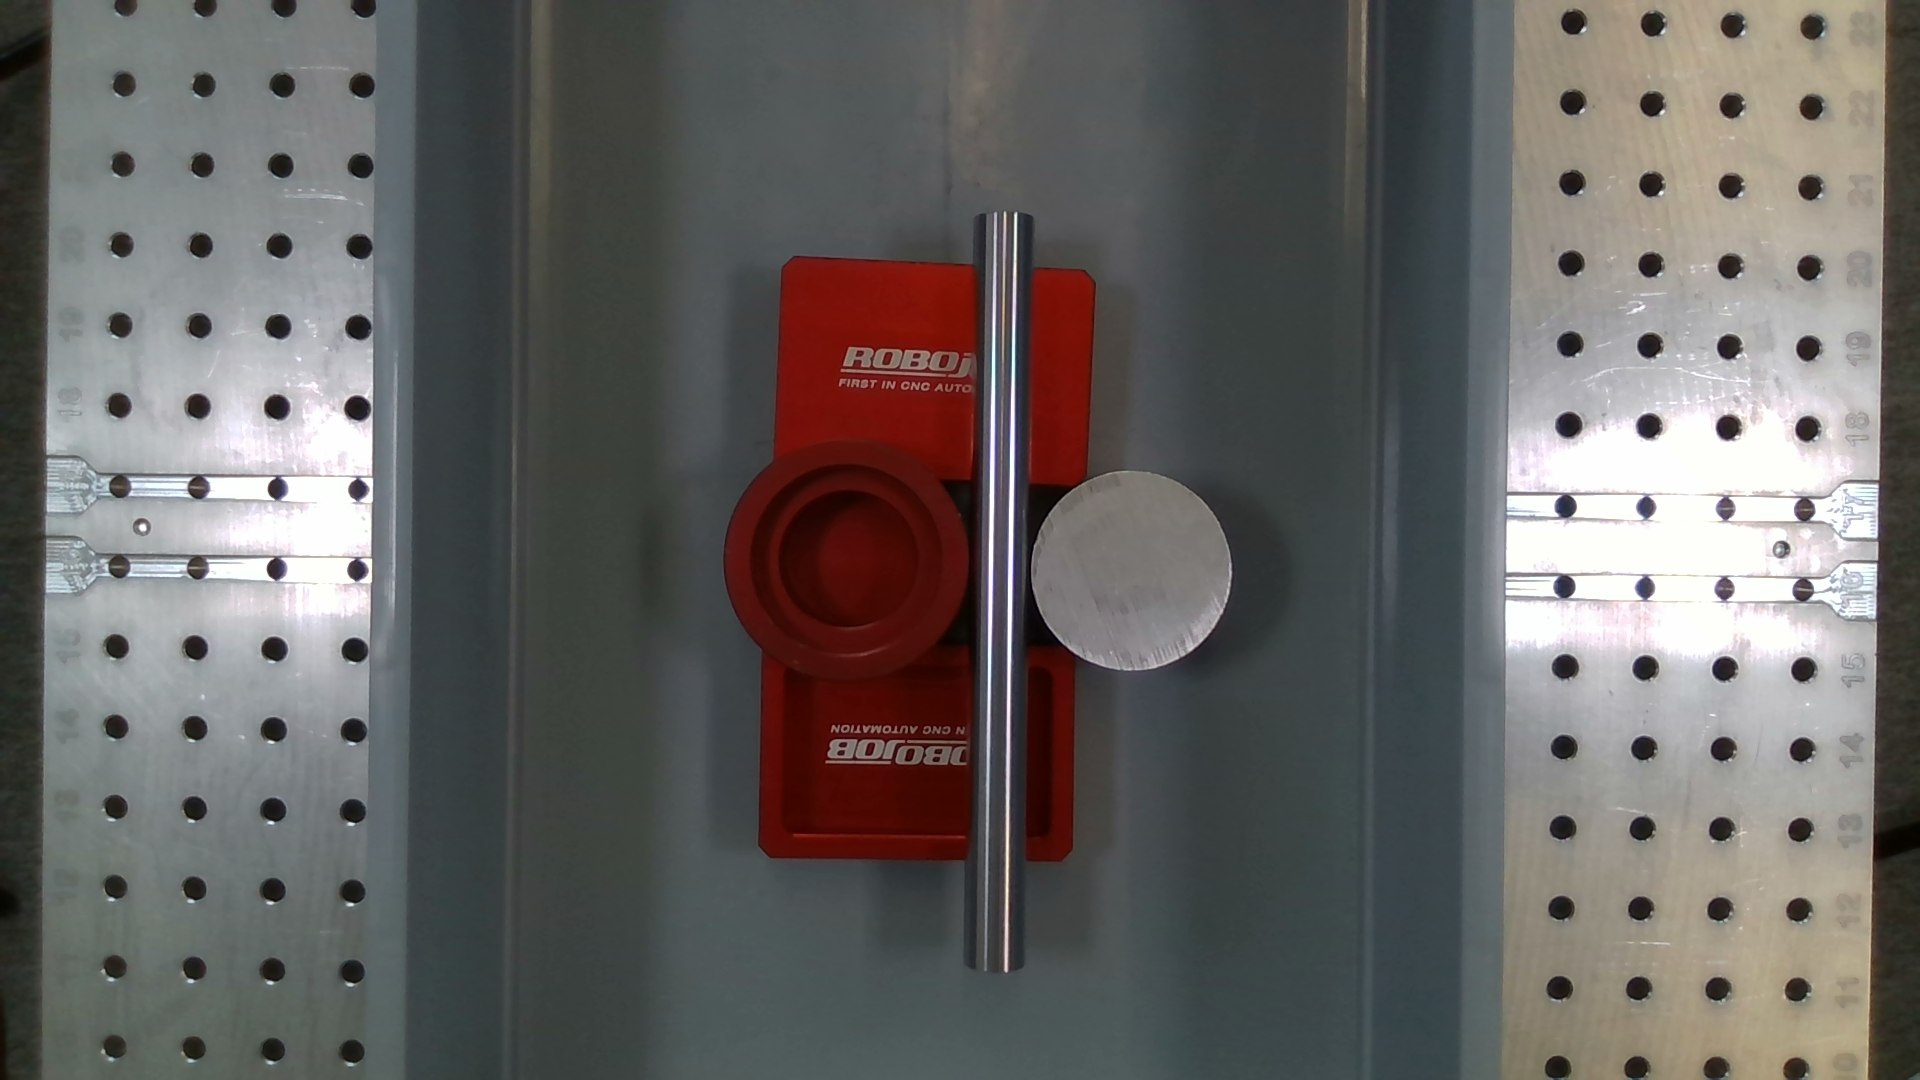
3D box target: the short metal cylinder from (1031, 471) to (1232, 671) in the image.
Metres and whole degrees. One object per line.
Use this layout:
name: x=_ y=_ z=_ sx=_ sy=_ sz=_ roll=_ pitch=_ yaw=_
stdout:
short metal cylinder: x=0.068 y=0.012 z=0.573 sx=0.080 sy=0.050 sz=0.080 roll=0 pitch=90 yaw=0

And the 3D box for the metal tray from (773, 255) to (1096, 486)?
metal tray: x=-0.011 y=-0.070 z=0.582 sx=0.130 sy=0.030 sz=0.090 roll=3 pitch=91 yaw=0

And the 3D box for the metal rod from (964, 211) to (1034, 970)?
metal rod: x=0.016 y=0.020 z=0.556 sx=0.025 sy=0.025 sz=0.300 roll=1 pitch=91 yaw=0

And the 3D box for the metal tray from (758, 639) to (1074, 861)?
metal tray: x=-0.018 y=0.087 z=0.584 sx=0.130 sy=0.030 sz=0.090 roll=1 pitch=91 yaw=0

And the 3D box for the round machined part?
round machined part: x=-0.046 y=0.008 z=0.568 sx=0.098 sy=0.042 sz=0.098 roll=0 pitch=91 yaw=0
